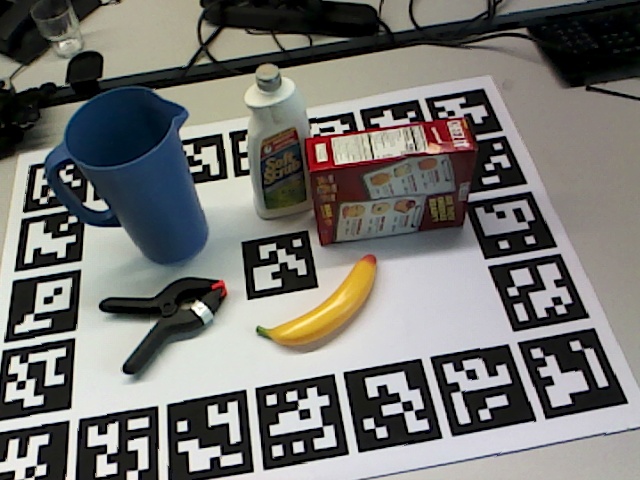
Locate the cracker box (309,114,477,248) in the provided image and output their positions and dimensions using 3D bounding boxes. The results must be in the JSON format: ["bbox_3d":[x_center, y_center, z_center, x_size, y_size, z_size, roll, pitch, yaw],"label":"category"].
[{"bbox_3d":[0.100,-0.078,0.862,0.214,0.163,0.072,-10,50,2],"label":"cracker box"}]

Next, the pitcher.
[{"bbox_3d":[-0.246,-0.071,0.842,0.188,0.242,0.134,-24,54,-14],"label":"pitcher"}]

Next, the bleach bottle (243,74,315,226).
[{"bbox_3d":[-0.066,-0.125,0.883,0.102,0.250,0.068,-11,52,-1],"label":"bleach bottle"}]

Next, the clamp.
[{"bbox_3d":[-0.203,0.104,0.861,0.165,0.036,0.122,-23,53,-12],"label":"clamp"}]

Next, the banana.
[{"bbox_3d":[0.018,0.088,0.855,0.197,0.038,0.075,-39,58,-20],"label":"banana"}]
